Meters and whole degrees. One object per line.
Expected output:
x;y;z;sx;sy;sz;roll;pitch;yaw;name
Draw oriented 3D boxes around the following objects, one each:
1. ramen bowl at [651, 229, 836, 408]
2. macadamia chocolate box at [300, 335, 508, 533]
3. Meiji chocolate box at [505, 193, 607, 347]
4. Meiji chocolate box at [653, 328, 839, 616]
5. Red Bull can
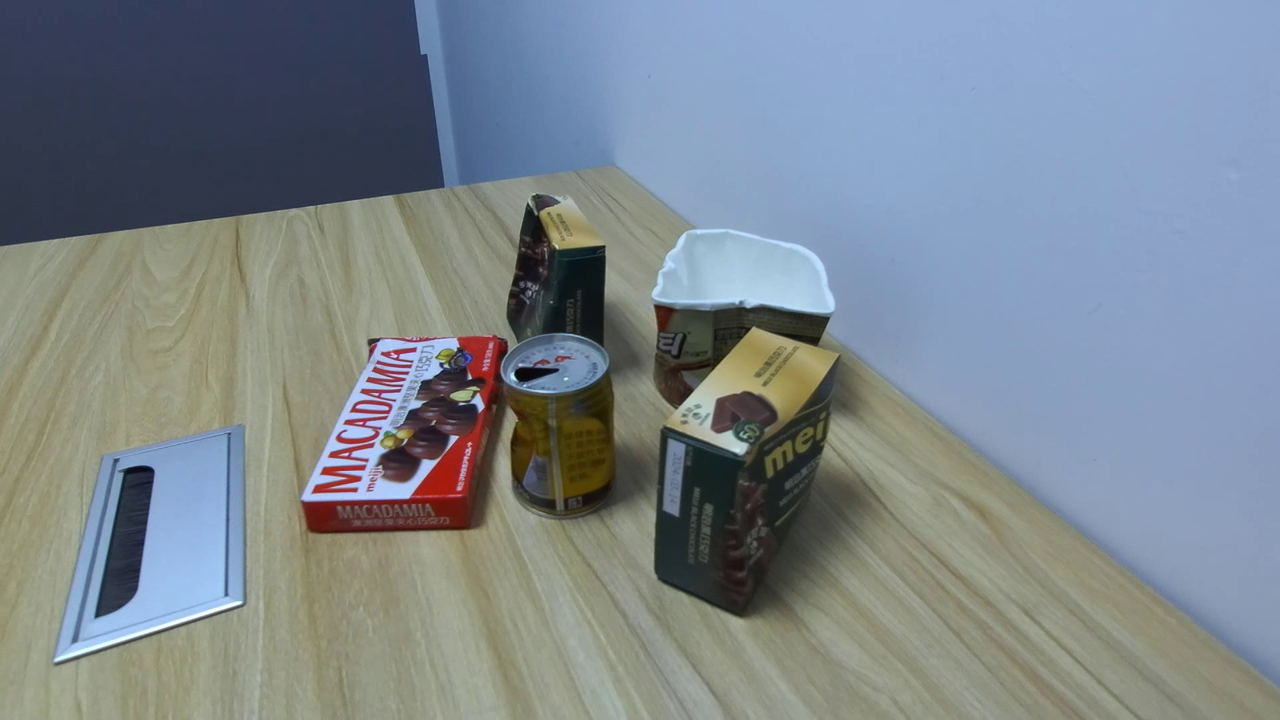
0.065;-0.030;0.513;0.113;0.097;0.133;-1;34;-1;ramen bowl
-0.149;0.039;0.478;0.106;0.028;0.182;-1;34;-5;macadamia chocolate box
-0.063;-0.056;0.540;0.052;0.117;0.117;-5;33;-23;Meiji chocolate box
0.059;0.057;0.377;0.058;0.111;0.113;20;38;24;Meiji chocolate box
-0.047;0.038;0.418;0.072;0.092;0.072;0;35;0;Red Bull can
